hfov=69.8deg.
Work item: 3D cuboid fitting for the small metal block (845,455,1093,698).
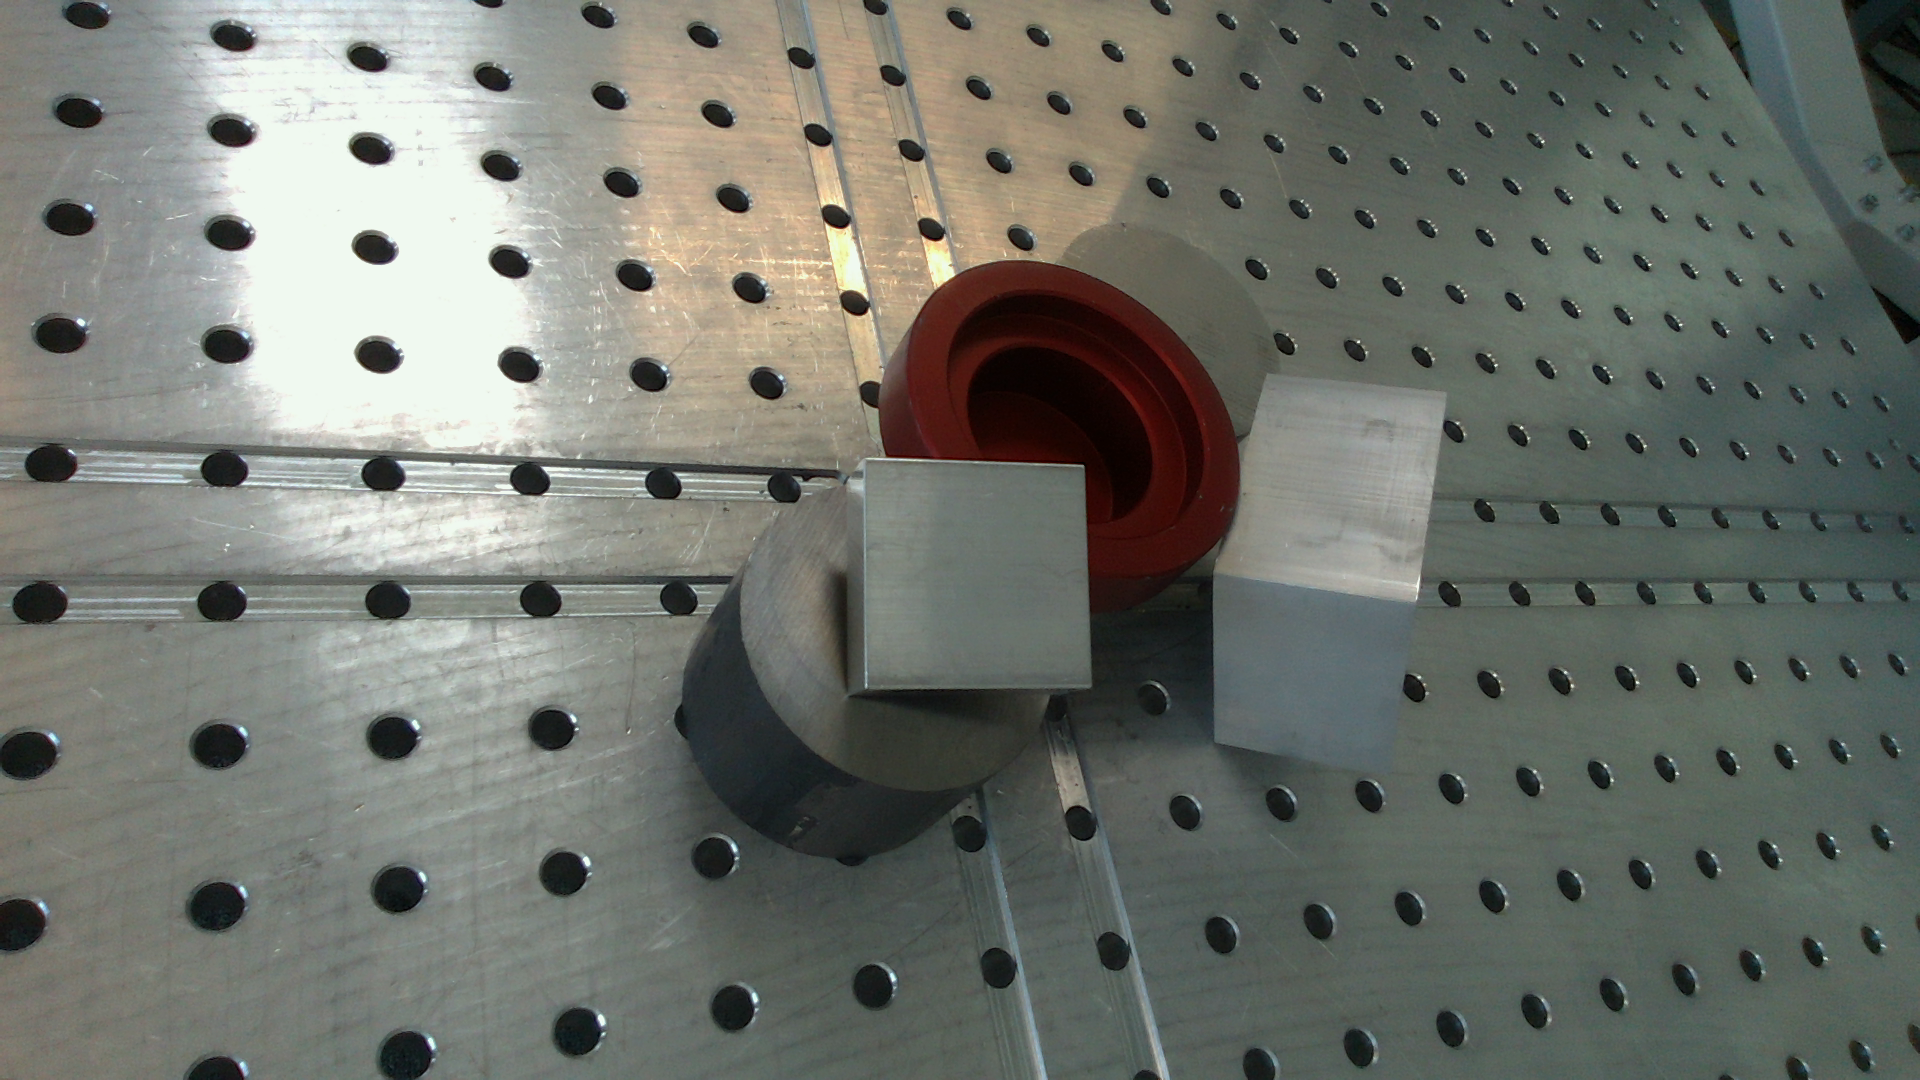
[{"bbox_3d":[0.001,0.009,0.307,0.050,0.025,0.050,1,80,-14],"label":"small metal block"}]

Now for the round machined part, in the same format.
[{"bbox_3d":[0.023,-0.024,0.371,0.098,0.042,0.098,14,56,-21],"label":"round machined part"}]

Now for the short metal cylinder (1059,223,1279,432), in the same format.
[{"bbox_3d":[0.054,-0.053,0.438,0.080,0.050,0.080,14,56,-21],"label":"short metal cylinder"}]

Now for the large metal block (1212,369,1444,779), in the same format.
[{"bbox_3d":[0.106,0.009,0.400,0.050,0.080,0.080,8,50,18],"label":"large metal block"}]

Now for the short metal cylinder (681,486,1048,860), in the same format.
[{"bbox_3d":[-0.024,0.033,0.343,0.080,0.050,0.080,14,56,-21],"label":"short metal cylinder"}]
